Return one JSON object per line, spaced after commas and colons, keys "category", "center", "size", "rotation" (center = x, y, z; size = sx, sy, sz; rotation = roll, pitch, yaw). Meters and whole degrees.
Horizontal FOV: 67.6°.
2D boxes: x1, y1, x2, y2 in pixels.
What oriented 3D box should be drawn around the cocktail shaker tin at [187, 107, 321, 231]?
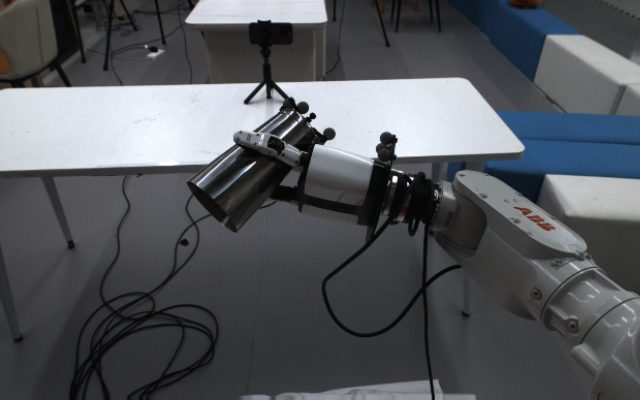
{"category": "cocktail shaker tin", "center": [-0.085, -0.052, 0.658], "size": [0.093, 0.093, 0.170], "rotation": [32, 66, 35]}
